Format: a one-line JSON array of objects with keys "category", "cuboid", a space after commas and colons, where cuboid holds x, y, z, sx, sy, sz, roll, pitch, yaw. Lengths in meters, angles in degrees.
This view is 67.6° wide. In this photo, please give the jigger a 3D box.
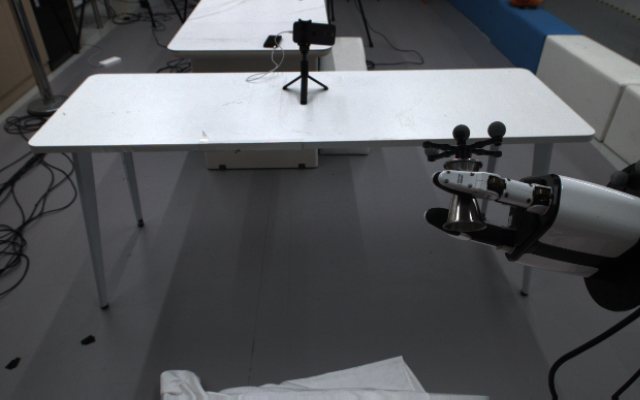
[{"category": "jigger", "cuboid": [0.149, -0.006, 0.510, 0.043, 0.043, 0.071, 3, 75, 1]}]
